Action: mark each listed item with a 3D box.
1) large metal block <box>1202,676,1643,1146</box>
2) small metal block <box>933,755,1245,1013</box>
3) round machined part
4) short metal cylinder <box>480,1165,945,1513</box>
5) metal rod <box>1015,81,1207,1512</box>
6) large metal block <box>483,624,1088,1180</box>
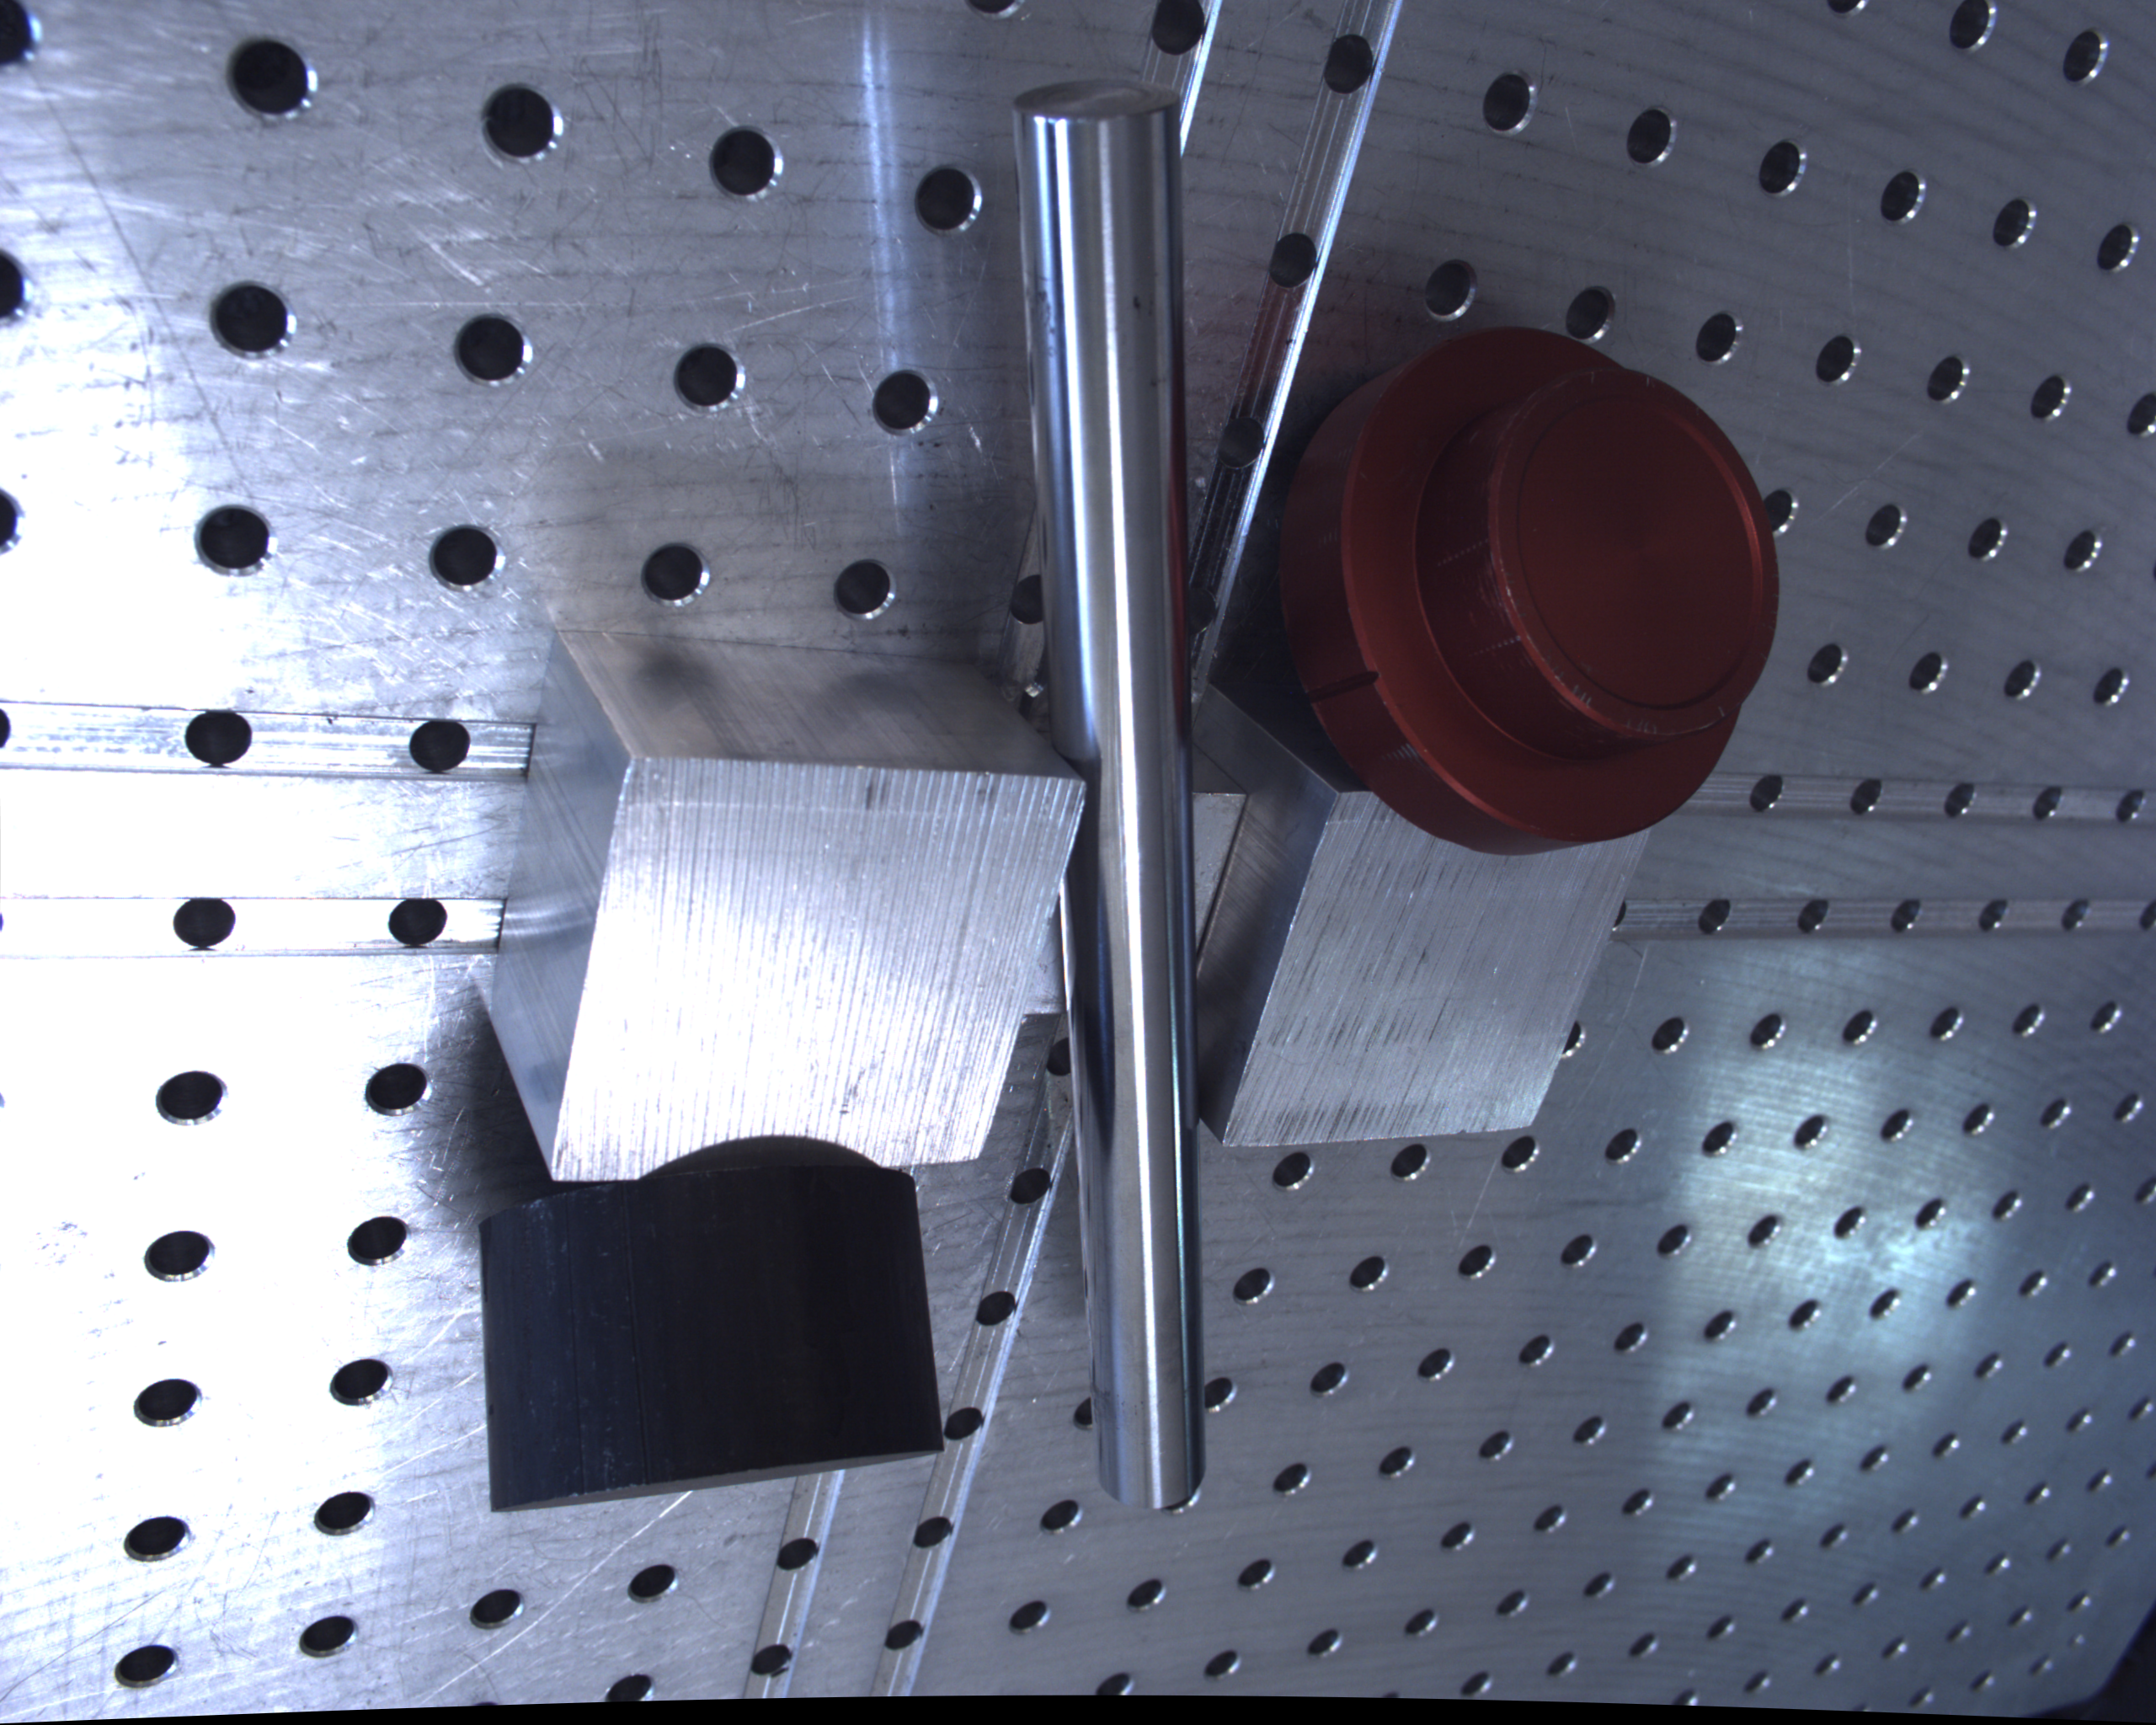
[{"bbox_3d":[0.062,0.010,0.436,0.081,0.050,0.079,1,118,-29],"label":"large metal block"},{"bbox_3d":[-0.001,0.002,0.413,0.050,0.025,0.050,1,118,-29],"label":"small metal block"},{"bbox_3d":[0.090,-0.052,0.385,0.099,0.042,0.097,4,81,-28],"label":"round machined part"},{"bbox_3d":[-0.068,0.089,0.385,0.081,0.050,0.080,-8,163,-2],"label":"short metal cylinder"},{"bbox_3d":[0.010,0.012,0.390,0.025,0.025,0.298,-16,125,-19],"label":"metal rod"},{"bbox_3d":[-0.054,0.007,0.371,0.081,0.050,0.079,2,118,-30],"label":"large metal block"}]
